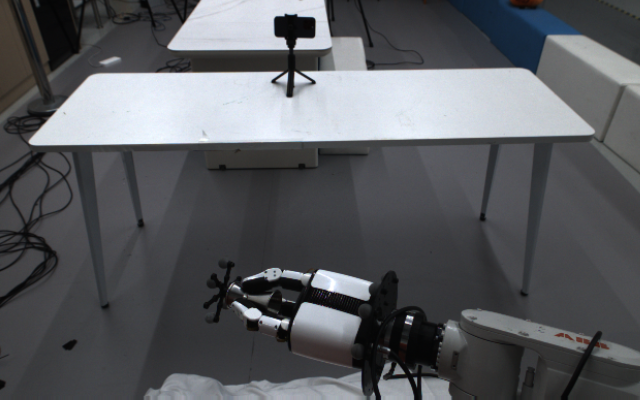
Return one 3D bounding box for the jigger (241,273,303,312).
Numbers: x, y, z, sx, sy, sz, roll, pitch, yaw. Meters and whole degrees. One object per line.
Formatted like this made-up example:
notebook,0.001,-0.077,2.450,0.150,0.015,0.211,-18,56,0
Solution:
jigger,-0.088,0.139,0.682,0.071,0.043,0.043,10,35,22
